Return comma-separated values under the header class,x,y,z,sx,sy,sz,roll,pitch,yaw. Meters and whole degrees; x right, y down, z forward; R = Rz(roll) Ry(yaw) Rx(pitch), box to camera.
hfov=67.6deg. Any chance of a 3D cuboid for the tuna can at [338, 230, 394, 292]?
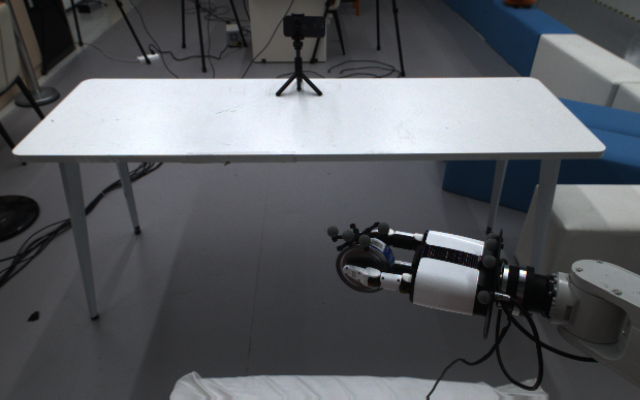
class,x,y,z,sx,sy,sz,roll,pitch,yaw
tuna can,0.072,0.097,0.738,0.085,0.085,0.034,13,29,15
